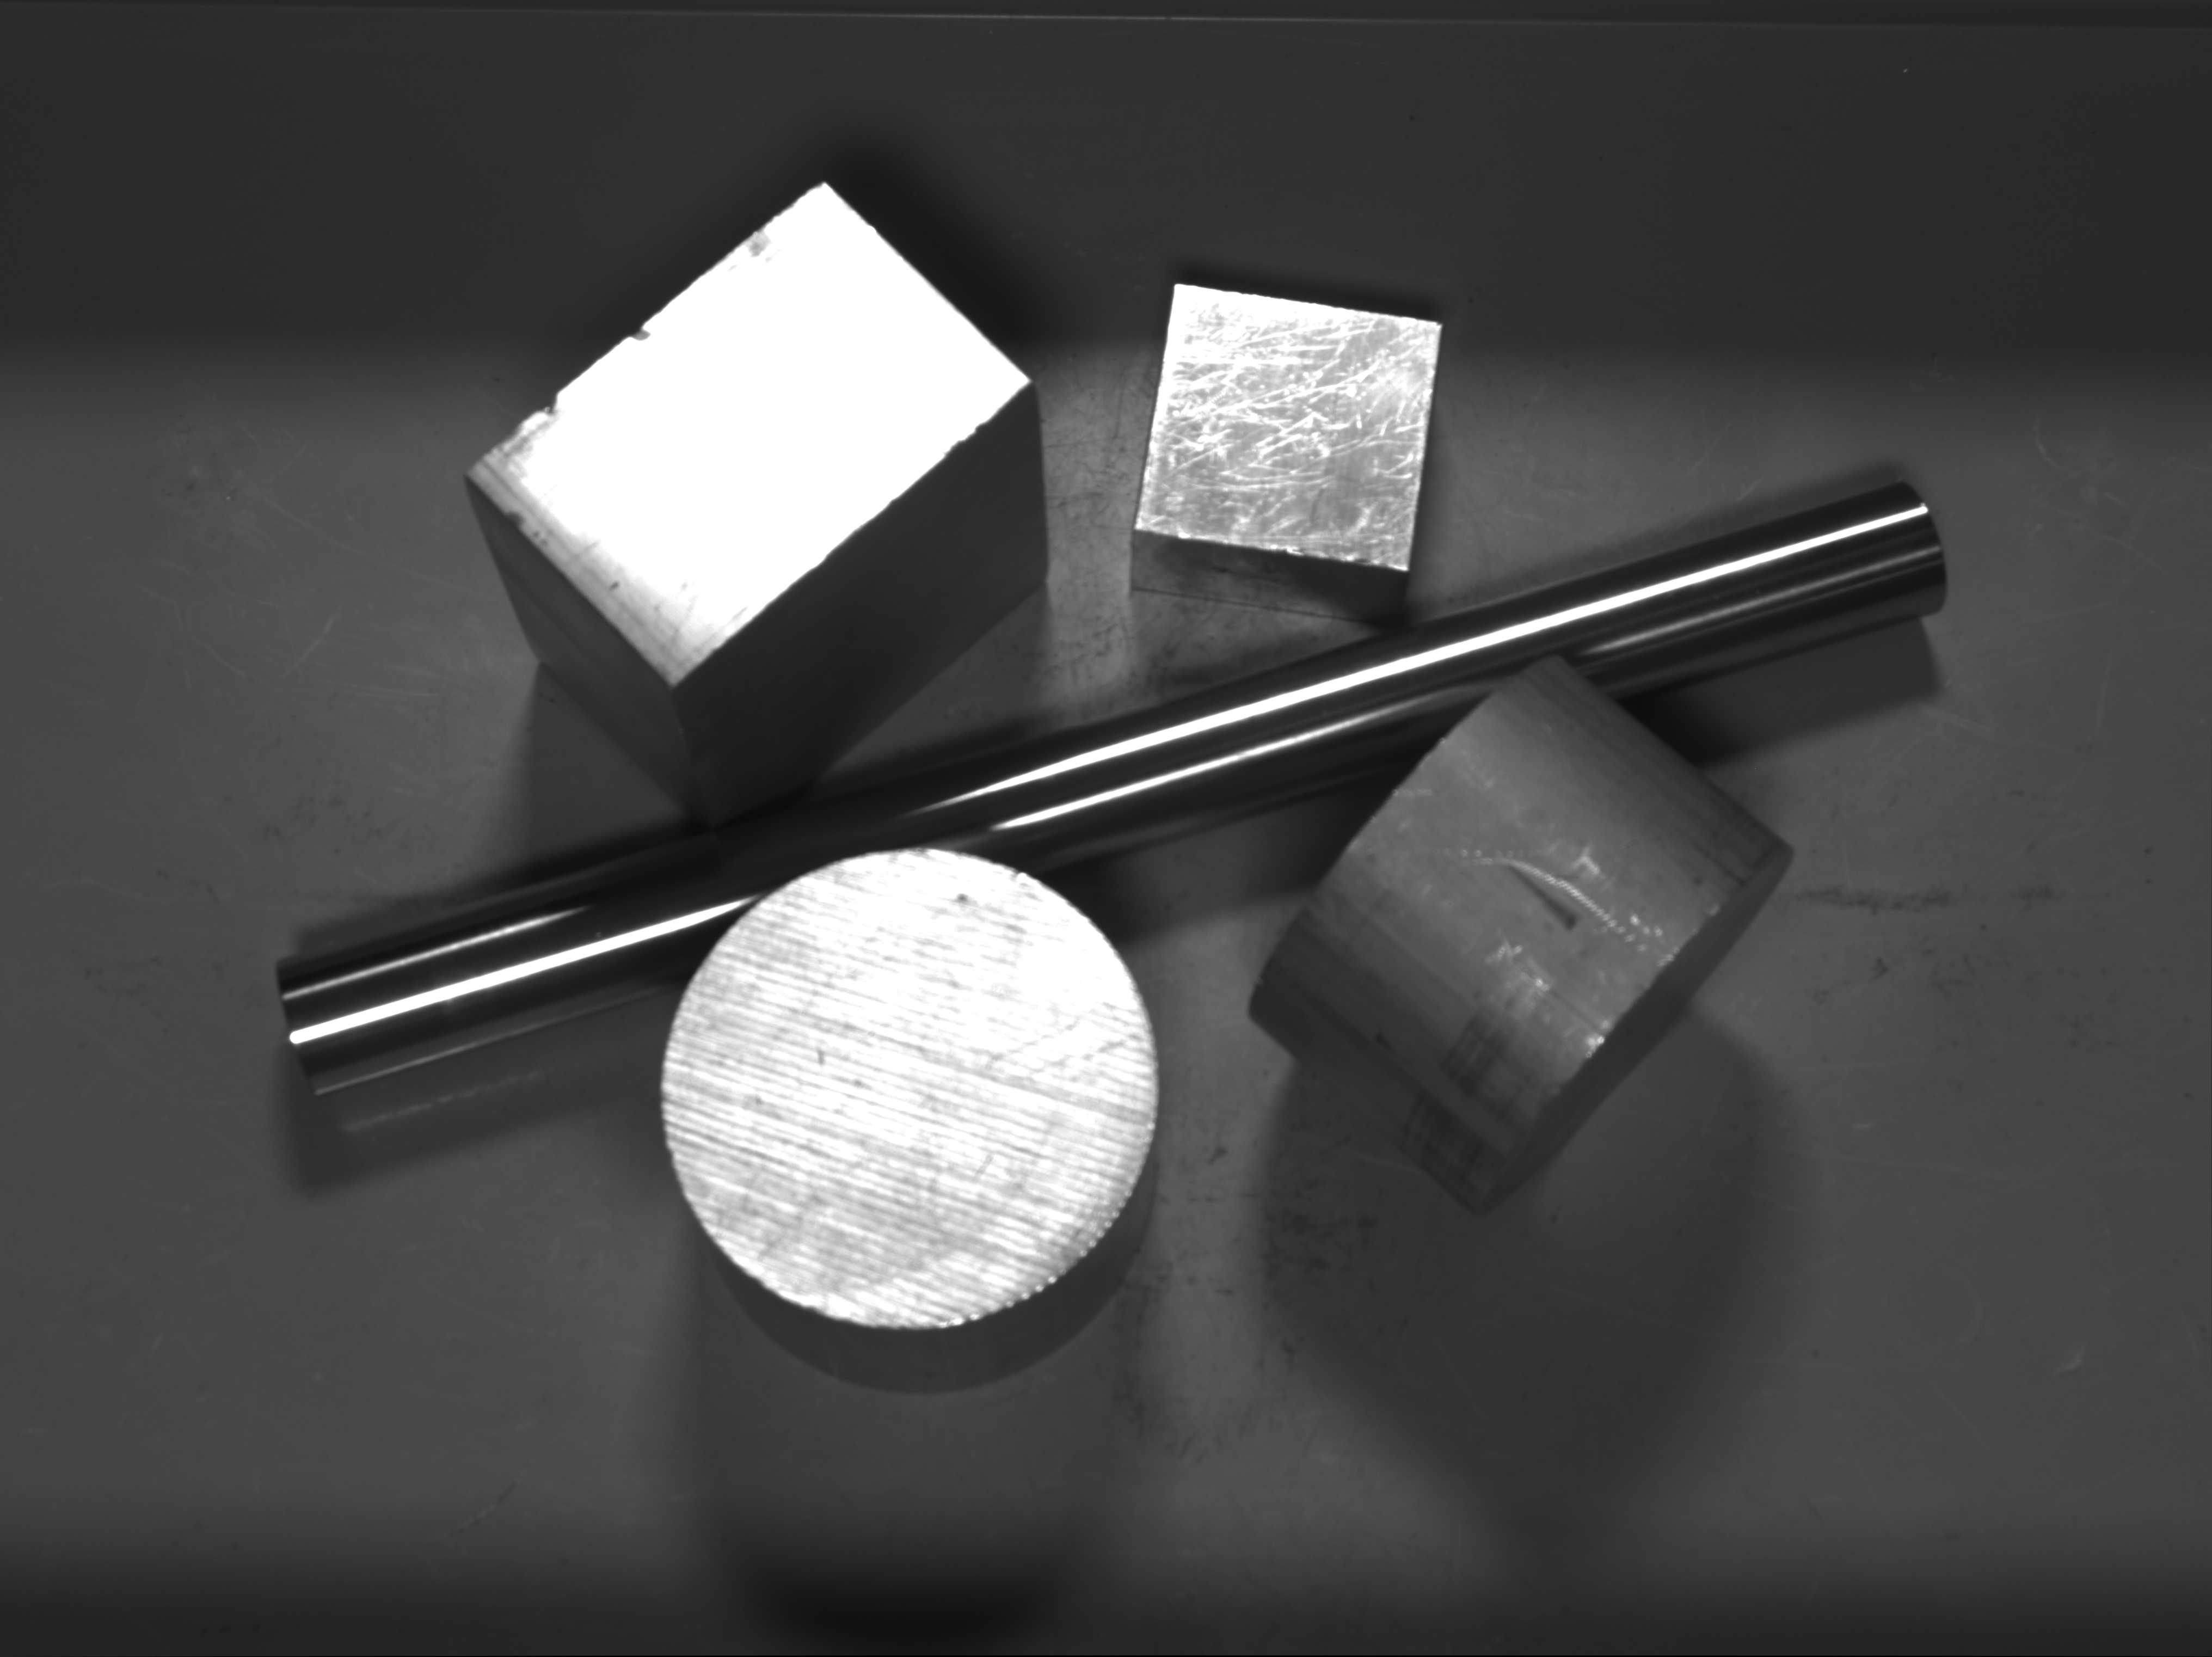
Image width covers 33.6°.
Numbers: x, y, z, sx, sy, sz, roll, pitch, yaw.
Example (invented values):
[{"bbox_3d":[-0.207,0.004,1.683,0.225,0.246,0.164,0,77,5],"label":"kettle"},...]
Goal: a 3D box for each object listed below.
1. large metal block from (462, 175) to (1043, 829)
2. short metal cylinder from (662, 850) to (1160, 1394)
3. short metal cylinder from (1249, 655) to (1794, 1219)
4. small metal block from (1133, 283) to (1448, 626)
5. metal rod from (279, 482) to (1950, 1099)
[{"bbox_3d":[-0.058,-0.053,0.634,0.080,0.080,0.050,-42,75,-14],"label":"large metal block"},{"bbox_3d":[-0.031,0.050,0.612,0.080,0.050,0.080,0,70,0],"label":"short metal cylinder"},{"bbox_3d":[0.069,0.018,0.608,0.050,0.080,0.080,41,75,14],"label":"short metal cylinder"},{"bbox_3d":[0.033,-0.068,0.669,0.050,0.025,0.050,8,70,3],"label":"small metal block"},{"bbox_3d":[0.004,-0.008,0.647,0.300,0.025,0.025,-17,71,-6],"label":"metal rod"}]
